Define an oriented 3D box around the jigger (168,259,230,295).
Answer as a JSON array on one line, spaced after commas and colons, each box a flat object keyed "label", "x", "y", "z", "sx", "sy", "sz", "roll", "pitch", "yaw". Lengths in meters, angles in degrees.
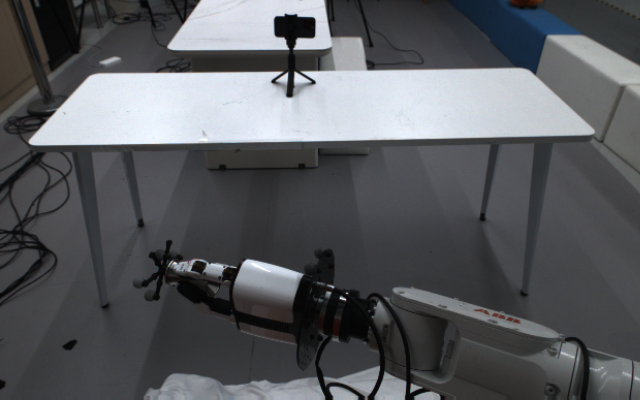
[{"label": "jigger", "x": -0.174, "y": 0.106, "z": 0.686, "sx": 0.071, "sy": 0.043, "sz": 0.043, "roll": 10, "pitch": 35, "yaw": 16}]
